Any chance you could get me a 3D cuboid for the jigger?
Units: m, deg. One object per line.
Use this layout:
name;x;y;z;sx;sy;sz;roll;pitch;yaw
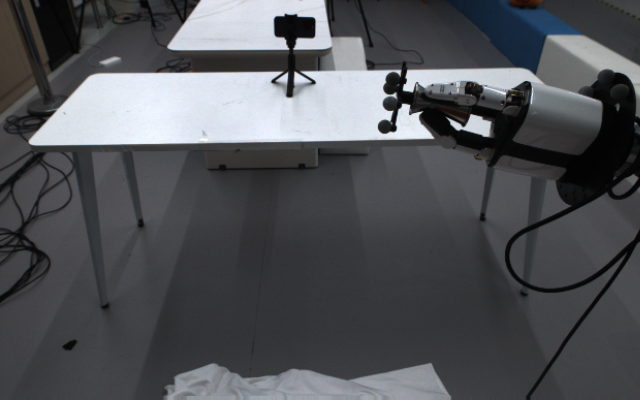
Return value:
jigger;0.152;-0.121;0.586;0.071;0.043;0.043;11;35;3
